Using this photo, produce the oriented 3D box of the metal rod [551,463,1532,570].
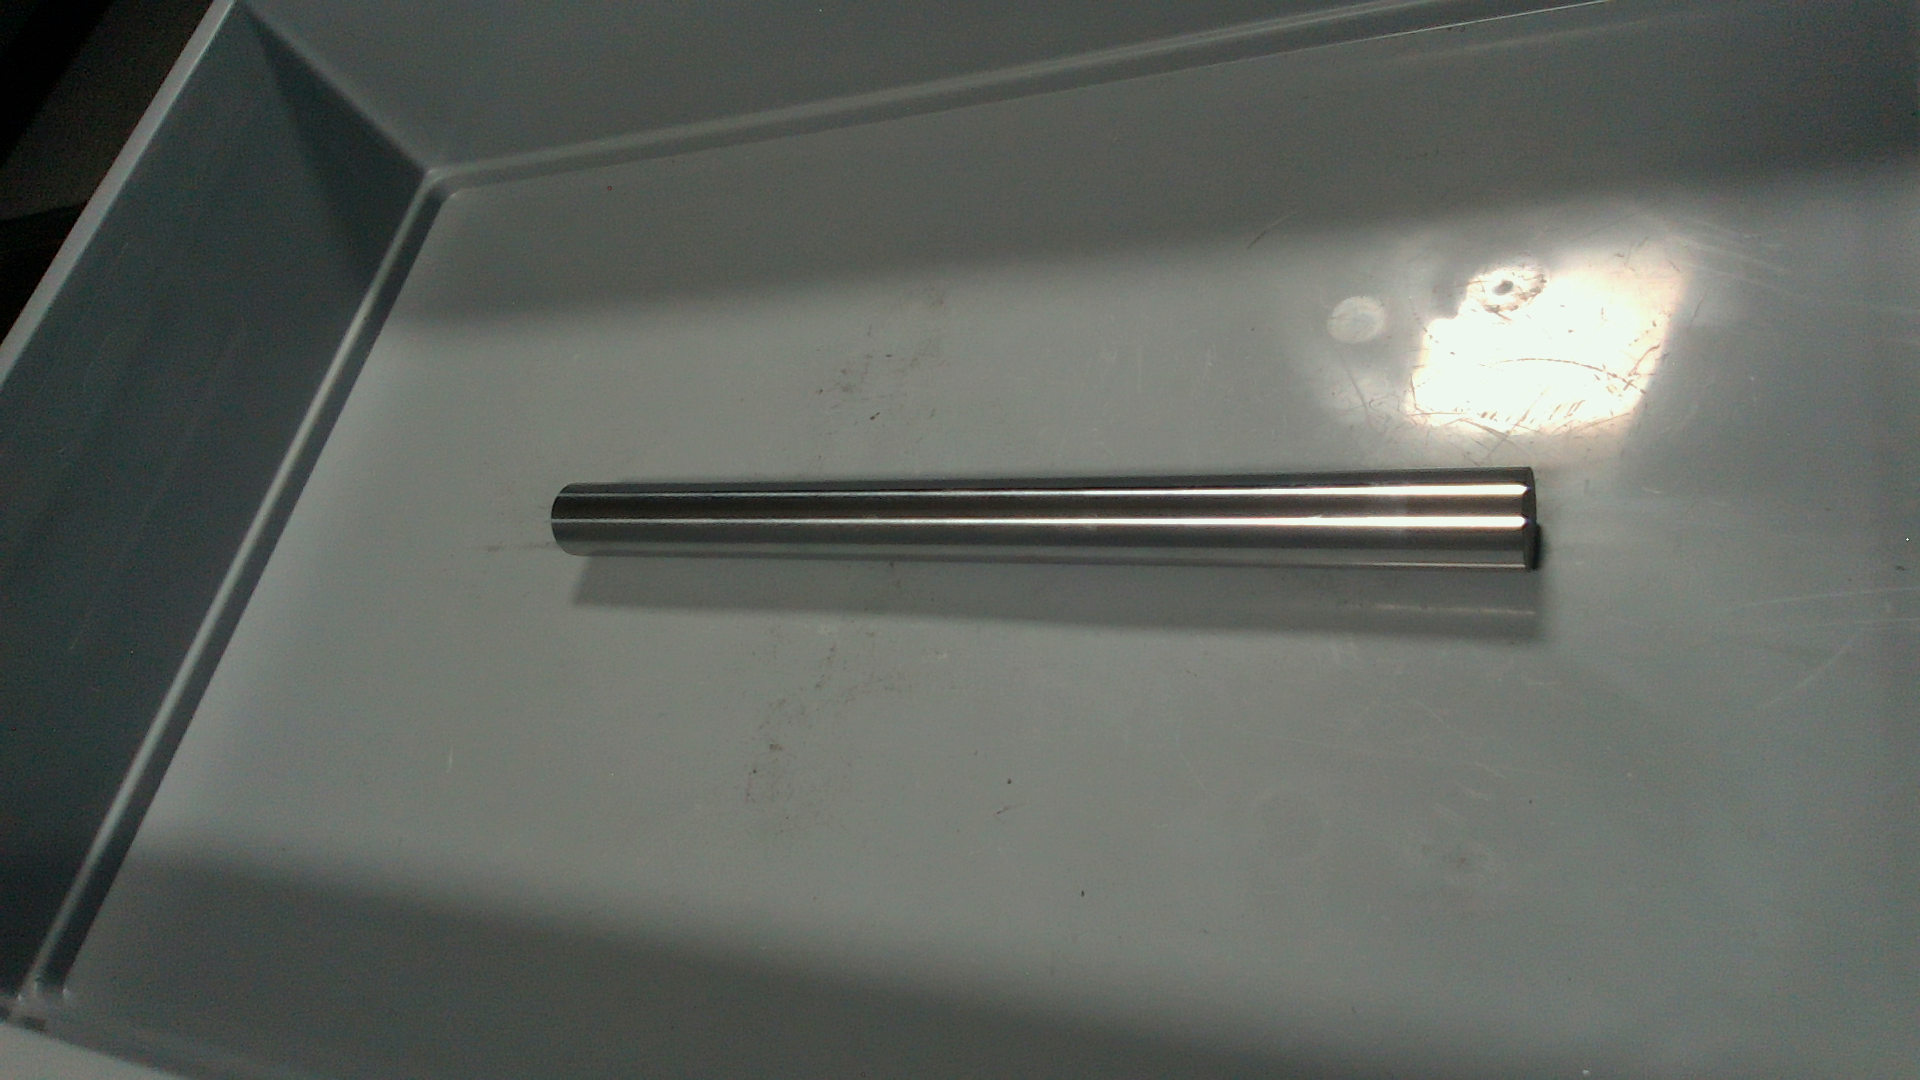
[{"bbox_3d":[0.002,-0.006,0.394,0.299,0.025,0.025,0,62,29],"label":"metal rod"}]
